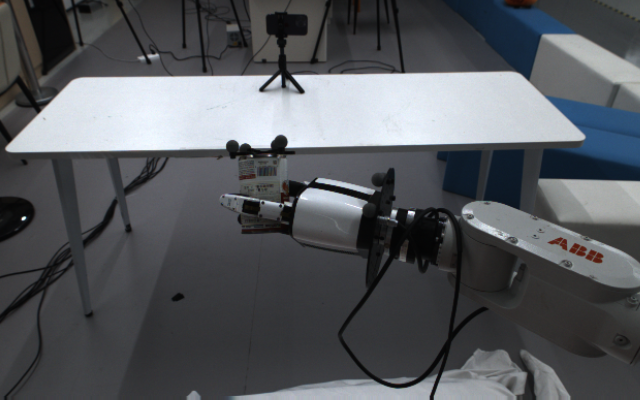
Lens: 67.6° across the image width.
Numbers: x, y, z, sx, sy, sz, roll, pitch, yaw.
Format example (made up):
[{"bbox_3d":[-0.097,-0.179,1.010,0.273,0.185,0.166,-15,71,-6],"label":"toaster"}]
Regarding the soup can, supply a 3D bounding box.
[{"bbox_3d":[-0.073,-0.006,0.646,0.067,0.101,0.067,-3,-1,0],"label":"soup can"}]
